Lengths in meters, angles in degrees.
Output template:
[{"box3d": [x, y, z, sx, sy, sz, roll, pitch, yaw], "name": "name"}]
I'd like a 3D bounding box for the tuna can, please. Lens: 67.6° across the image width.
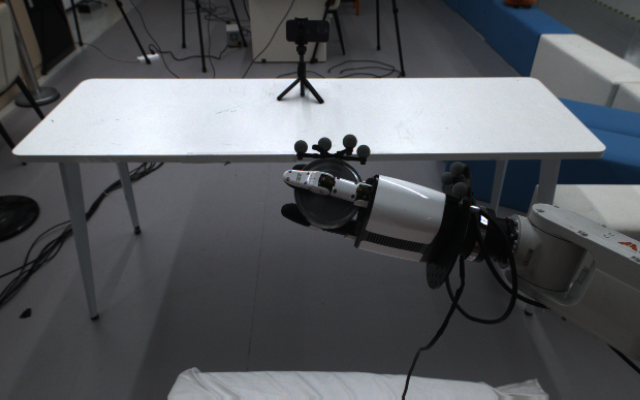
[{"box3d": [0.013, -0.008, 0.604, 0.085, 0.034, 0.085, 0, 76, 0], "name": "tuna can"}]
